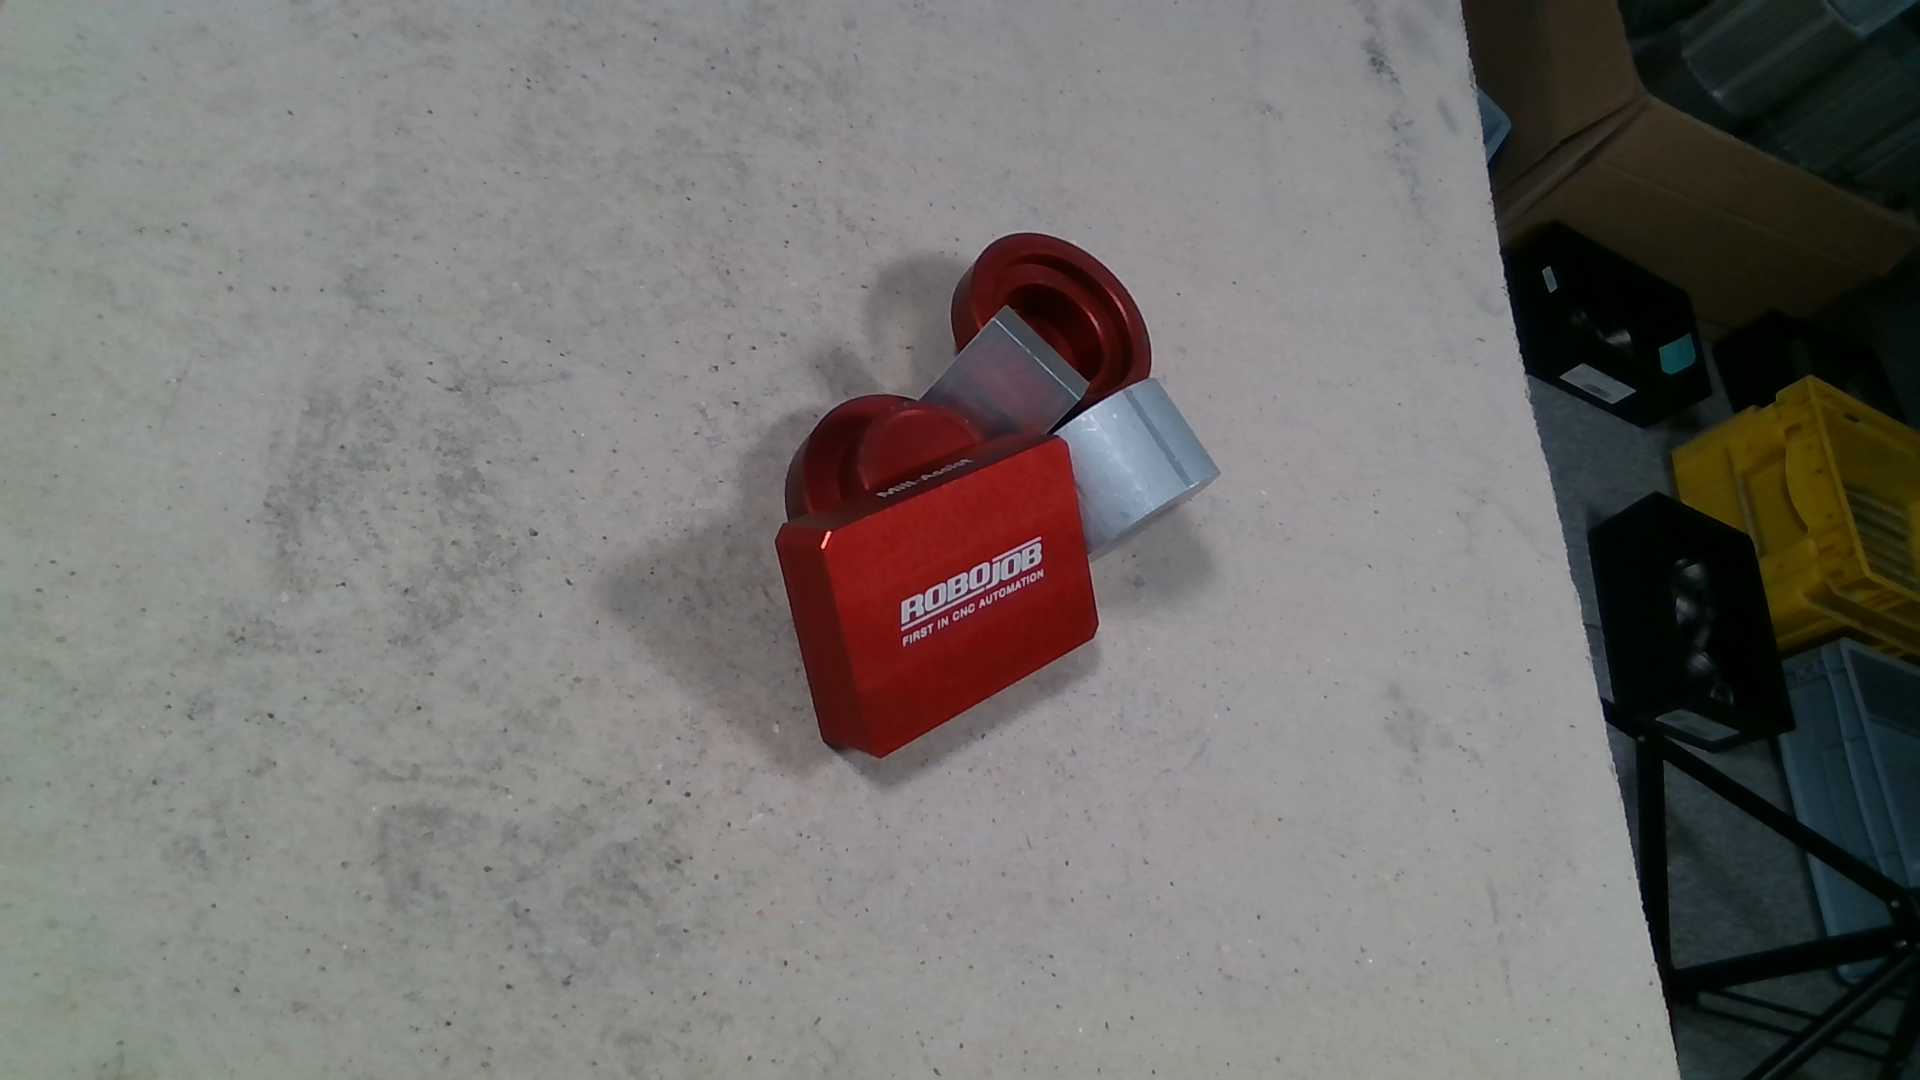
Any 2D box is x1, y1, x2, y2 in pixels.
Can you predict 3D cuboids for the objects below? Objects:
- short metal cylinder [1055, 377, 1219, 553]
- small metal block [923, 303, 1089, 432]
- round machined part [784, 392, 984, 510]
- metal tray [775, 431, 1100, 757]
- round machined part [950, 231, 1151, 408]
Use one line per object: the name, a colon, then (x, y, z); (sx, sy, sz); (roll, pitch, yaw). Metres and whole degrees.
short metal cylinder: (0.067, -0.028, 0.608); (0.080, 0.080, 0.050); (-27, 81, -38)
small metal block: (0.018, -0.064, 0.593); (0.050, 0.050, 0.025); (43, 27, -5)
round machined part: (-0.020, -0.019, 0.573); (0.098, 0.042, 0.098); (14, 59, -25)
metal tray: (-0.004, 0.017, 0.543); (0.130, 0.030, 0.090); (-24, 111, -38)
round machined part: (0.038, -0.093, 0.648); (0.098, 0.042, 0.098); (14, 59, -25)
